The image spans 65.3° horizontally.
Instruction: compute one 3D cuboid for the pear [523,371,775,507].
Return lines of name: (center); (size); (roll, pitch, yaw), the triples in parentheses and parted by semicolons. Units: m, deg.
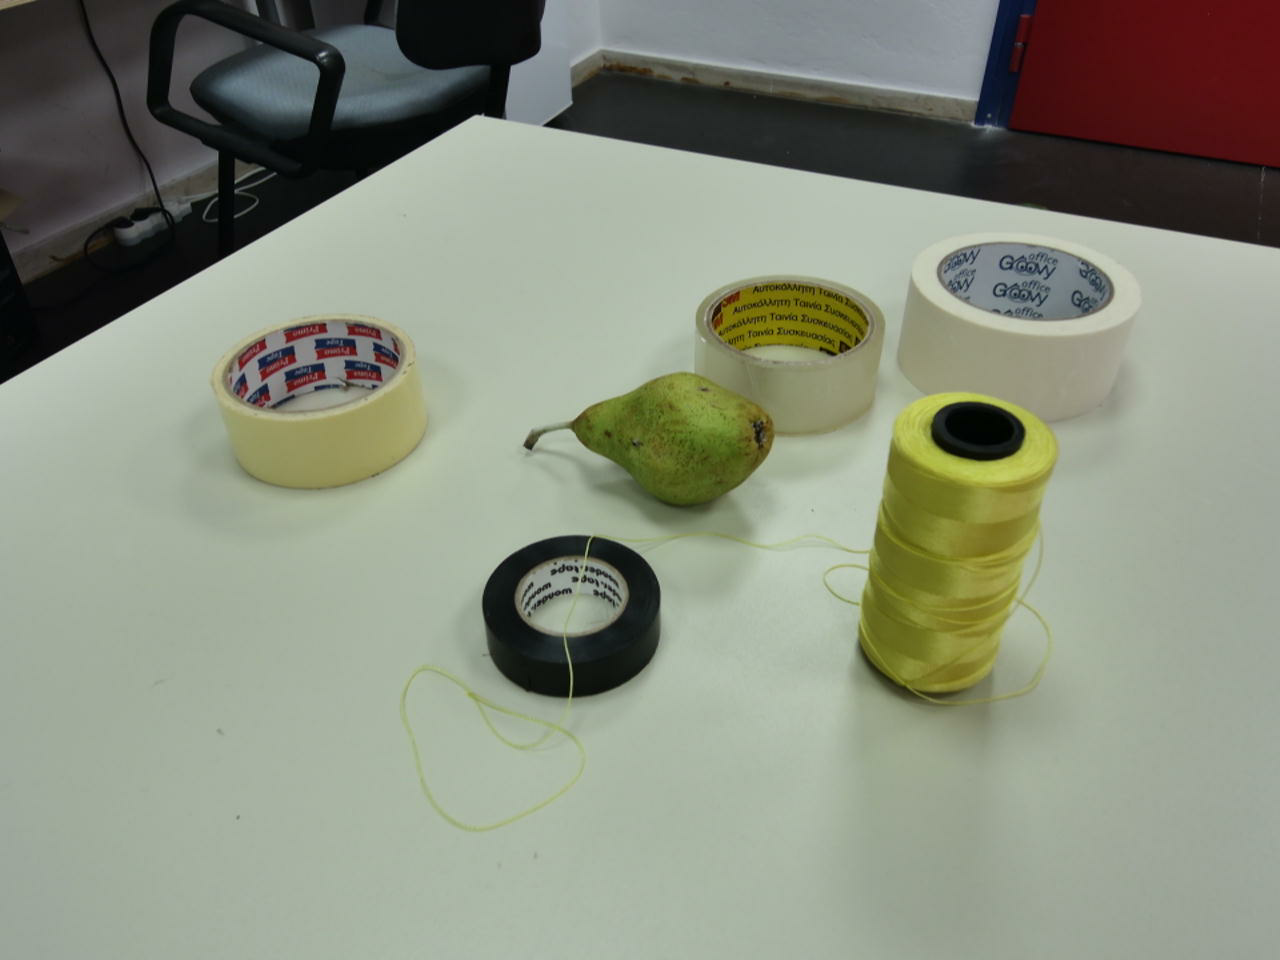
pear: (0.005, -0.025, 0.434); (0.111, 0.056, 0.056); (29, 46, 33)
